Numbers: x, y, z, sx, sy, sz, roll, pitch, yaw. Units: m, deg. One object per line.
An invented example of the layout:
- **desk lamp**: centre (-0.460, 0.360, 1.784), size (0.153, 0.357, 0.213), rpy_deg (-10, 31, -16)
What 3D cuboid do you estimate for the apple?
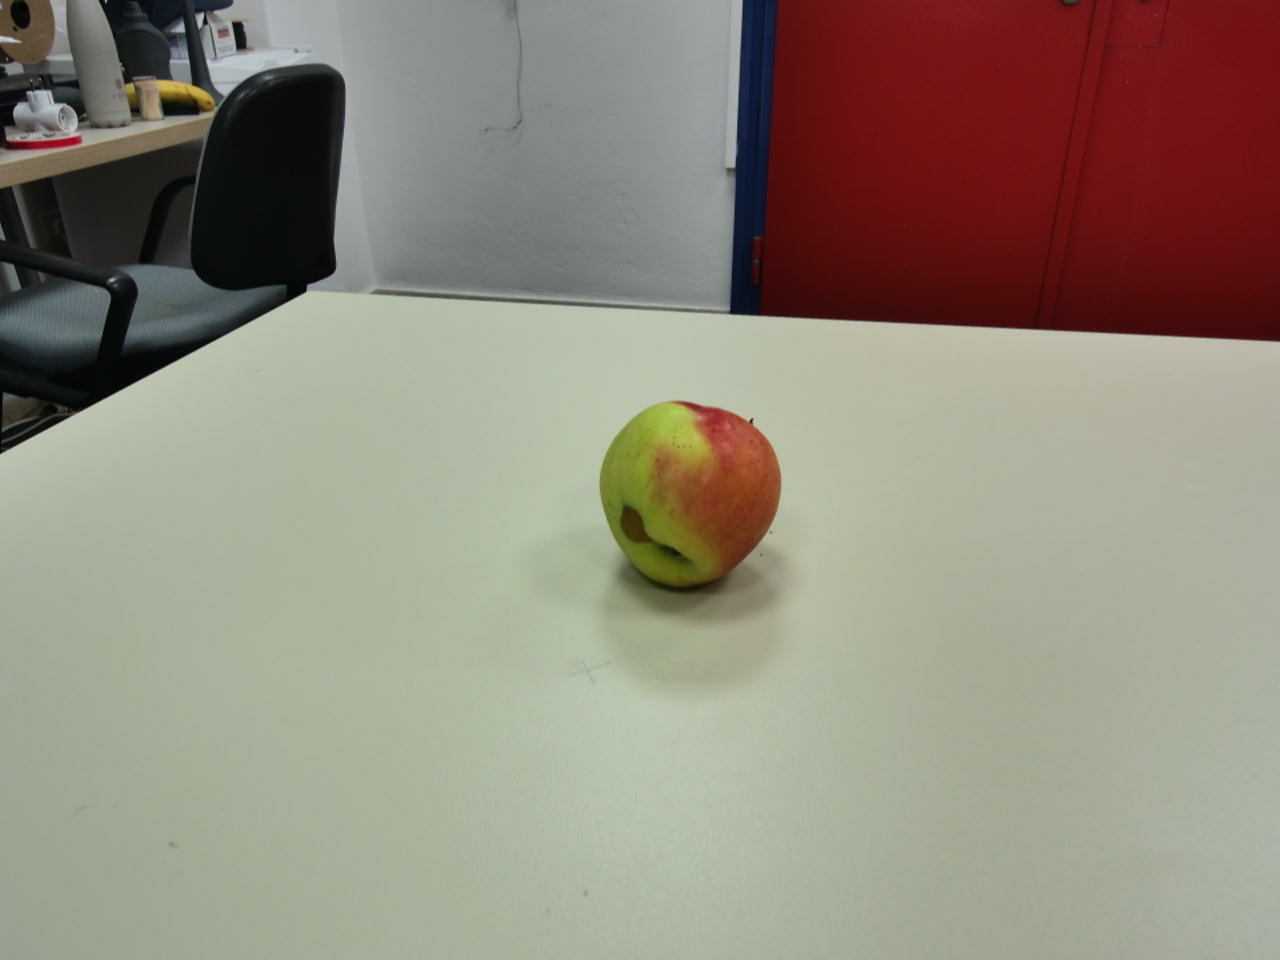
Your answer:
- **apple**: centre (0.020, 0.006, 0.413), size (0.075, 0.074, 0.075), rpy_deg (-3, 24, -6)
